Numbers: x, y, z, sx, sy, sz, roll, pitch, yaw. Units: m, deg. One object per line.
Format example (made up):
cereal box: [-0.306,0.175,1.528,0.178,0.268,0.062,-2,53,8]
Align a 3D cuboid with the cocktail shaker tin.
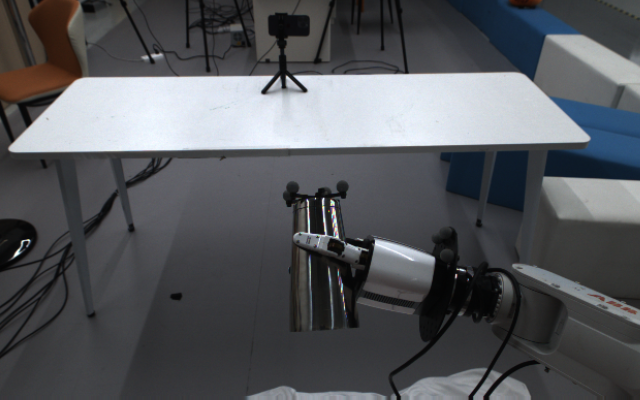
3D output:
cocktail shaker tin: [0.001,0.088,0.654,0.093,0.093,0.170,-3,76,-7]
